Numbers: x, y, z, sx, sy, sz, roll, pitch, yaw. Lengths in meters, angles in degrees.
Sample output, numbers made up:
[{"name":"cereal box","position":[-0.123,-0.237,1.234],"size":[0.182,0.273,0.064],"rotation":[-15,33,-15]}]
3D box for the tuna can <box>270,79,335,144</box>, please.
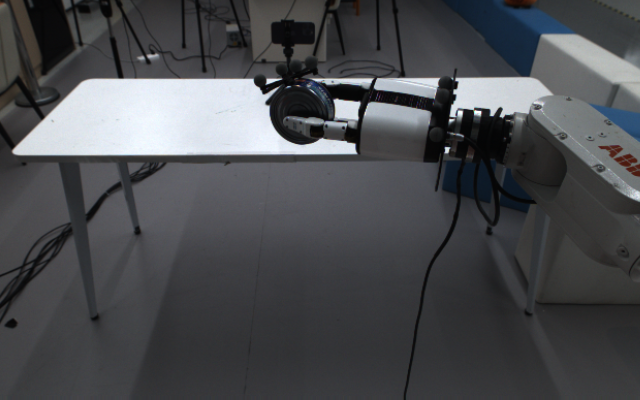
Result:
[{"name":"tuna can","position":[-0.021,-0.114,0.660],"size":[0.085,0.085,0.034],"rotation":[11,34,13]}]
